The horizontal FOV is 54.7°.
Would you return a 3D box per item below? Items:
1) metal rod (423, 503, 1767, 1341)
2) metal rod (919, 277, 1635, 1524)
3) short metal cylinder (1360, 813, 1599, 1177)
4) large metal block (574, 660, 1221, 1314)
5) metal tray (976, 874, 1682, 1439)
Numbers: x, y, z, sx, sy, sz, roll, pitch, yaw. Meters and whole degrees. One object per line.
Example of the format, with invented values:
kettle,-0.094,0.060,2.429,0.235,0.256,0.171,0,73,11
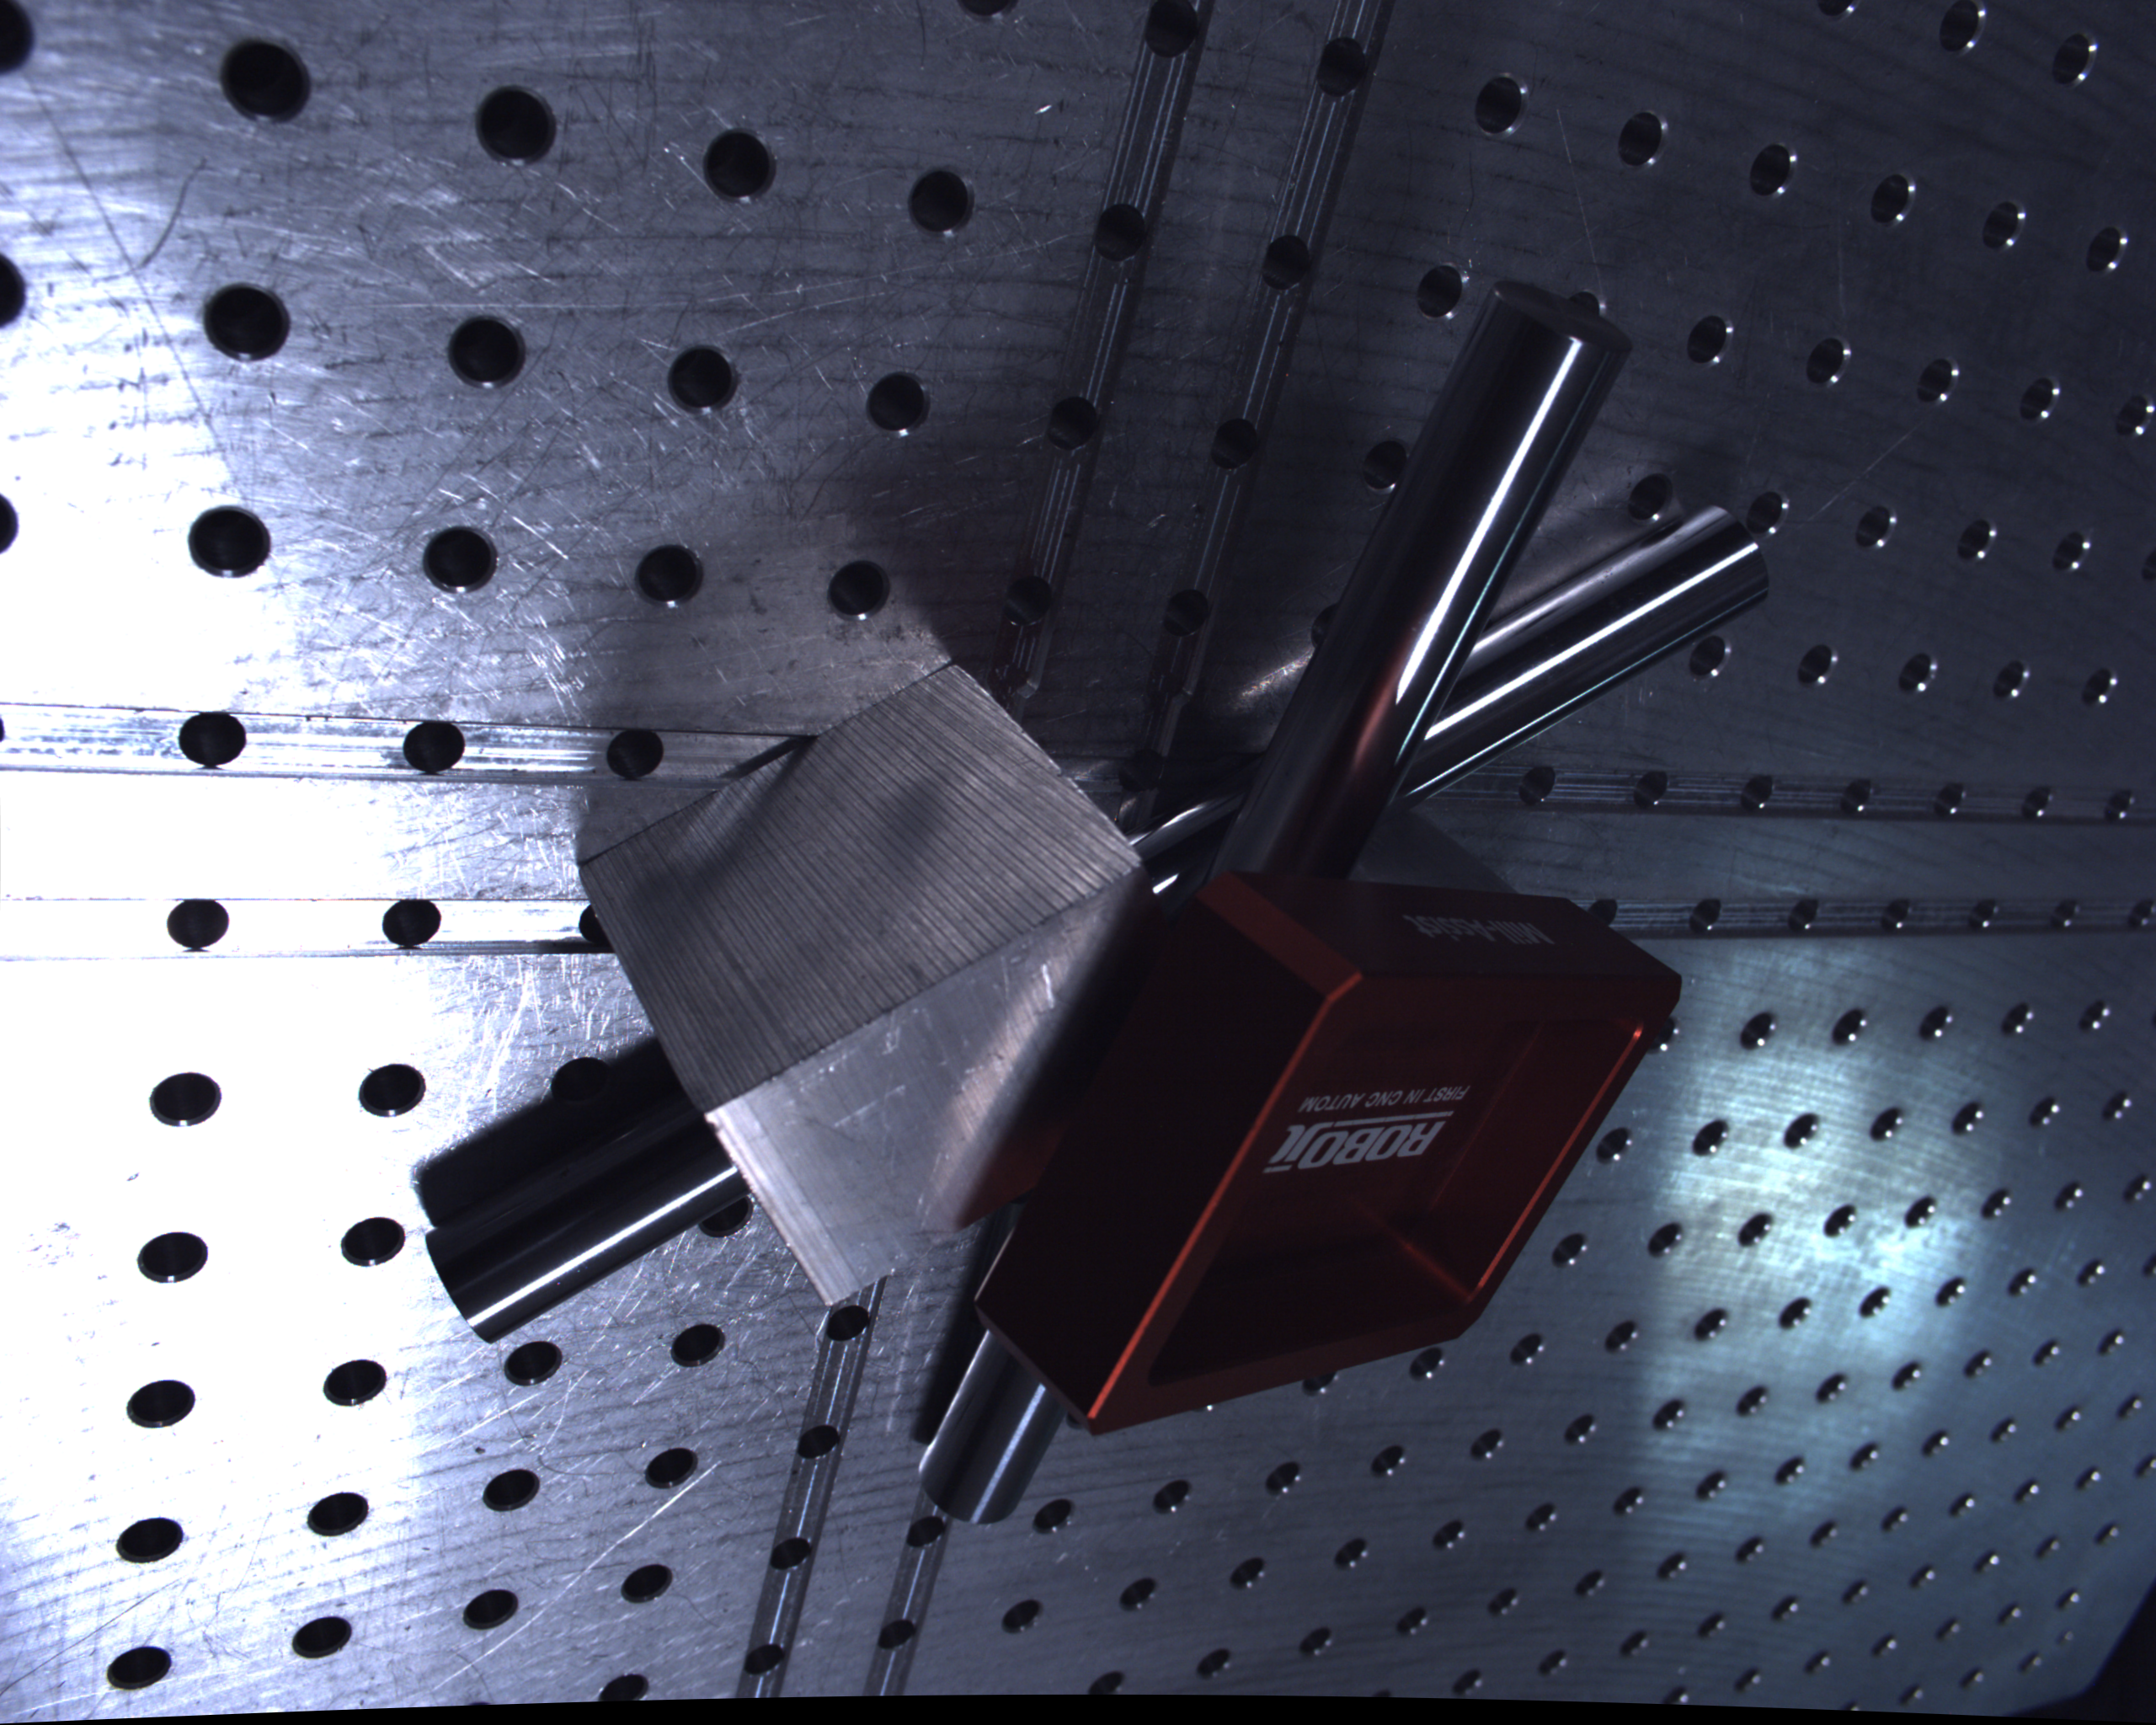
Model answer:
metal rod,0.011,0.007,0.424,0.301,0.025,0.025,-30,129,-10
metal rod,0.027,0.028,0.415,0.025,0.025,0.298,4,126,-31
short metal cylinder,0.066,0.034,0.453,0.081,0.050,0.079,-14,125,-21
large metal block,-0.033,0.019,0.370,0.080,0.080,0.050,-30,129,-10
metal tray,0.050,0.050,0.377,0.131,0.030,0.089,5,118,-52
